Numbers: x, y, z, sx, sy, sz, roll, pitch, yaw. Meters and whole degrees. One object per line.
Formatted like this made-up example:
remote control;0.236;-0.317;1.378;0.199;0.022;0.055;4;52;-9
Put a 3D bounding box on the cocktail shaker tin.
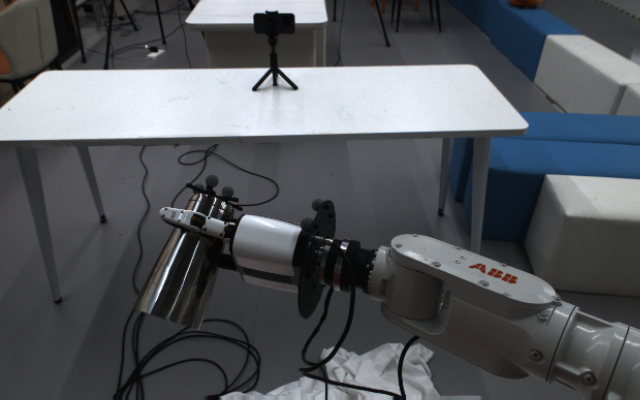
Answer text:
cocktail shaker tin;-0.178;0.078;0.665;0.093;0.093;0.170;13;71;16
